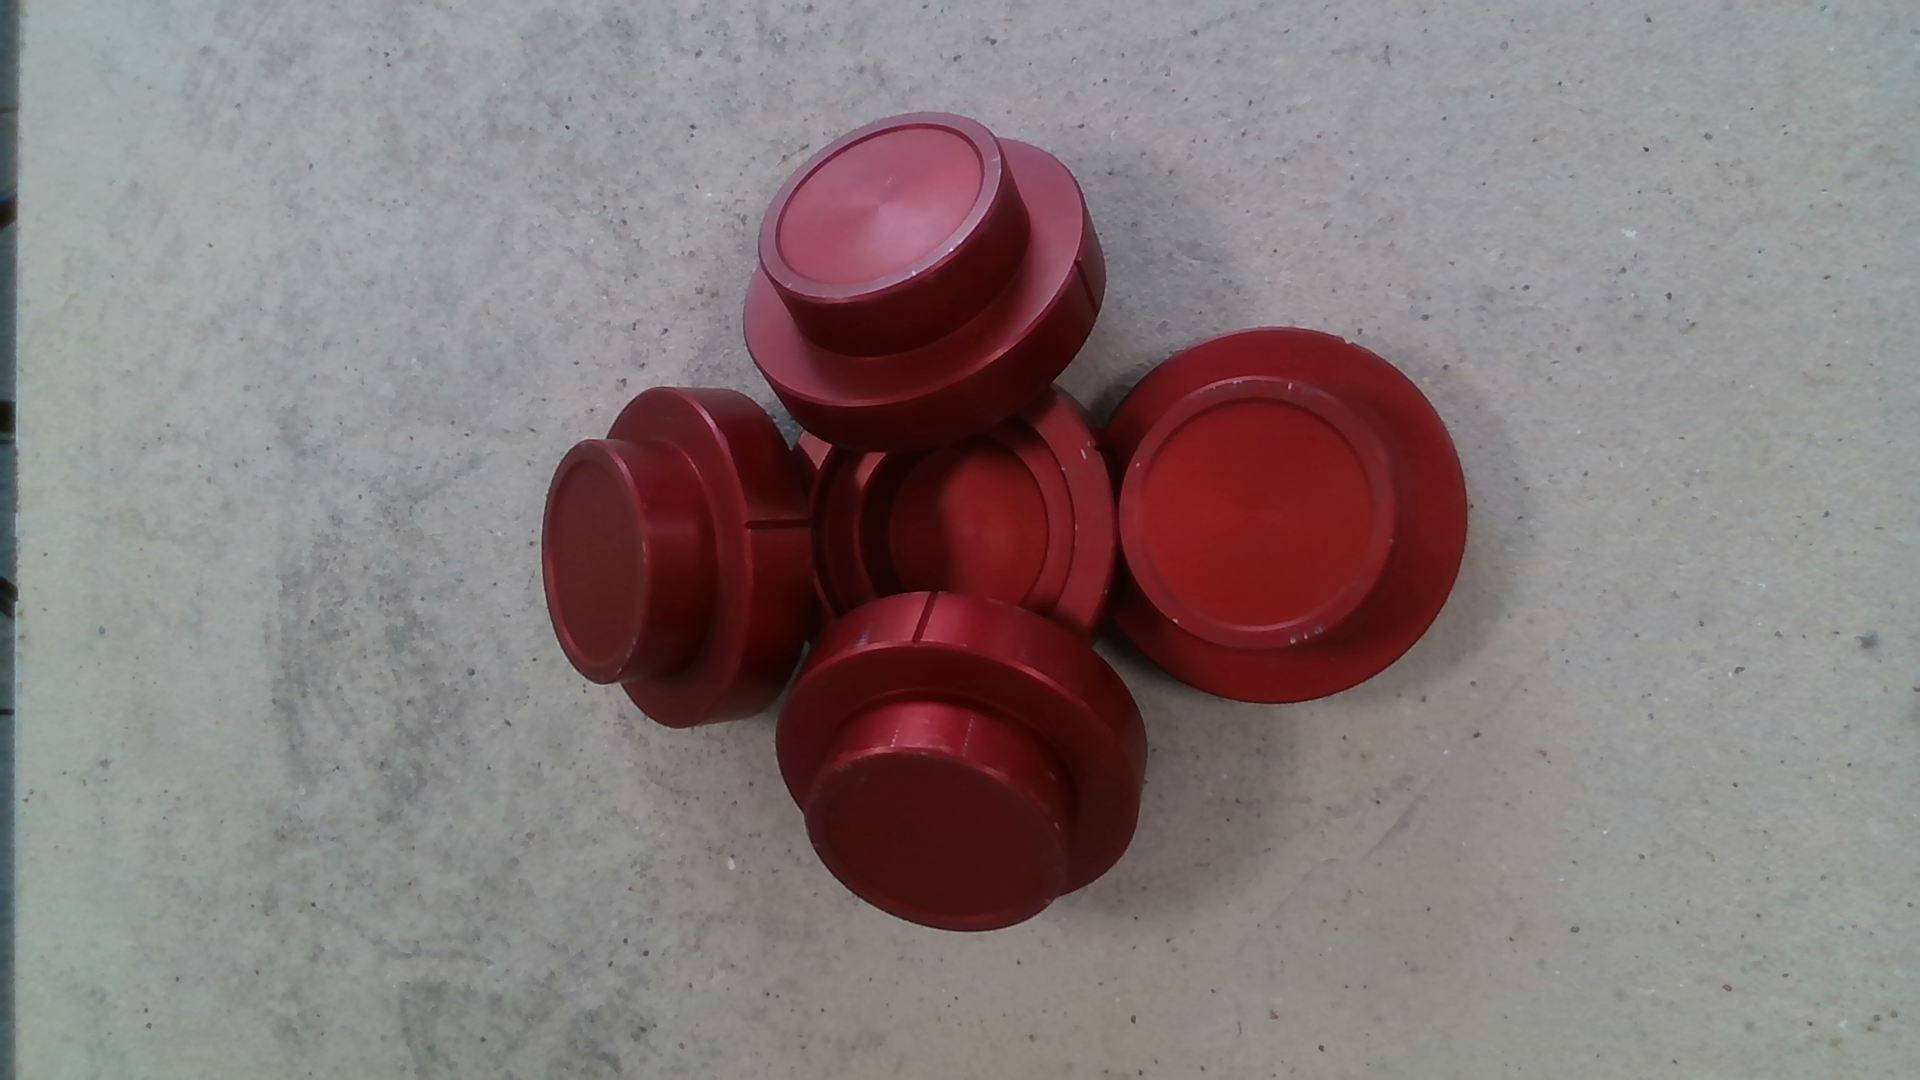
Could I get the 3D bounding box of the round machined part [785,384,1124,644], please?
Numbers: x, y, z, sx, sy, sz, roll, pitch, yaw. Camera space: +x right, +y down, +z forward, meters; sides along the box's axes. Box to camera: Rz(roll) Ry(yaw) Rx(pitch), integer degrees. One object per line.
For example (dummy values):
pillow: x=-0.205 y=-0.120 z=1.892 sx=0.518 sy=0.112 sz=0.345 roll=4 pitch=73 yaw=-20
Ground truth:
round machined part: x=0.001 y=-0.002 z=0.385 sx=0.098 sy=0.042 sz=0.098 roll=-1 pitch=88 yaw=19

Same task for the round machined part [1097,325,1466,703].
round machined part: x=0.079 y=-0.007 z=0.356 sx=0.098 sy=0.042 sz=0.098 roll=0 pitch=90 yaw=19

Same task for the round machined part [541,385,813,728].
round machined part: x=-0.086 y=0.005 z=0.394 sx=0.098 sy=0.042 sz=0.098 roll=4 pitch=96 yaw=50

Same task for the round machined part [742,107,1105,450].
round machined part: x=-0.014 y=-0.075 z=0.364 sx=0.098 sy=0.042 sz=0.098 roll=-12 pitch=53 yaw=17

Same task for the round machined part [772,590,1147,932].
round machined part: x=-0.003 y=0.064 z=0.359 sx=0.098 sy=0.042 sz=0.098 roll=8 pitch=128 yaw=10
